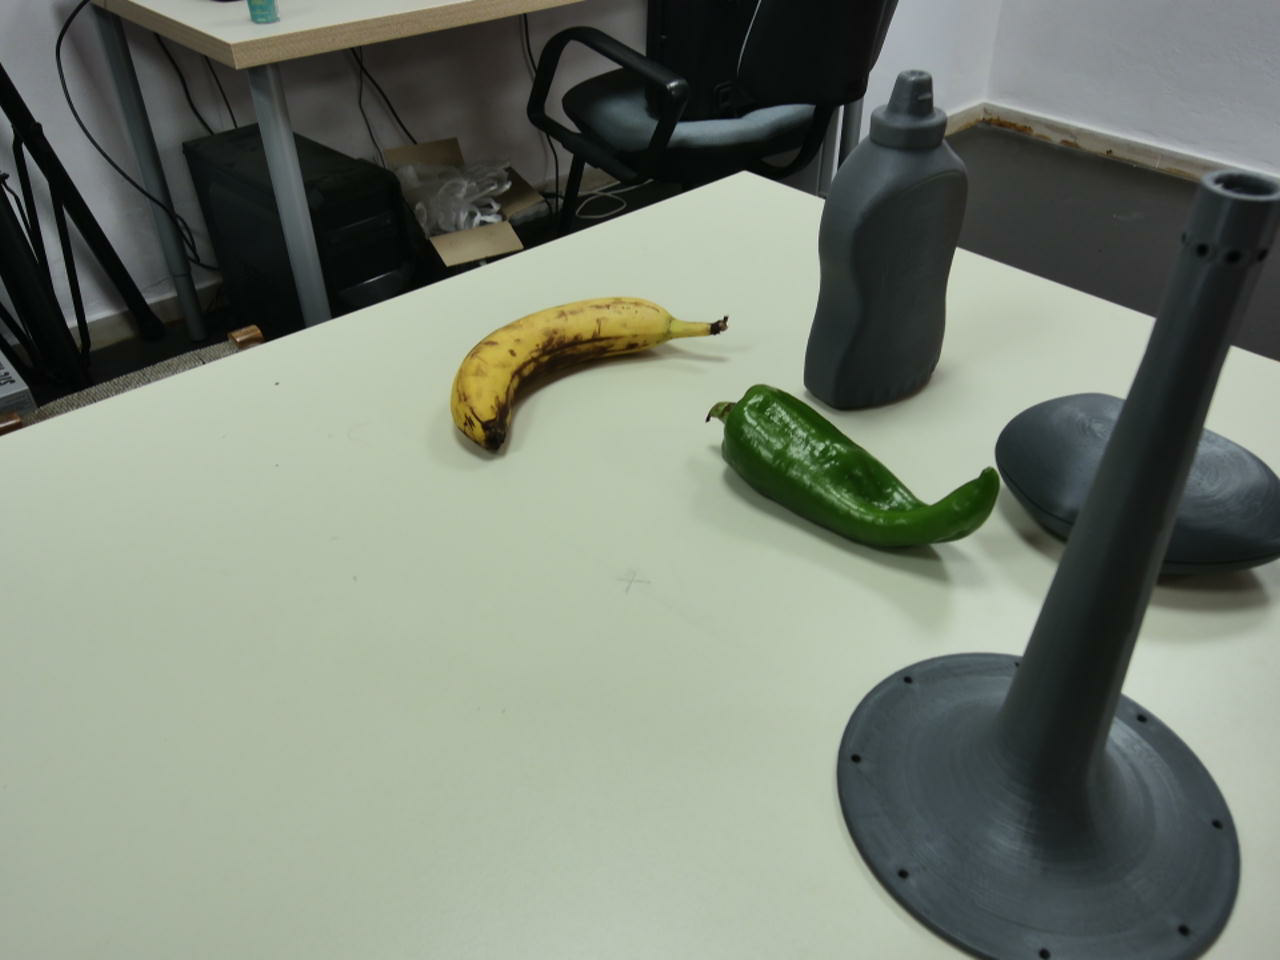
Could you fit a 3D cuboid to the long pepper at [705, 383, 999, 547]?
[{"bbox_3d":[0.101,-0.011,0.526,0.058,0.065,0.175,-28,44,-32],"label":"long pepper"}]
